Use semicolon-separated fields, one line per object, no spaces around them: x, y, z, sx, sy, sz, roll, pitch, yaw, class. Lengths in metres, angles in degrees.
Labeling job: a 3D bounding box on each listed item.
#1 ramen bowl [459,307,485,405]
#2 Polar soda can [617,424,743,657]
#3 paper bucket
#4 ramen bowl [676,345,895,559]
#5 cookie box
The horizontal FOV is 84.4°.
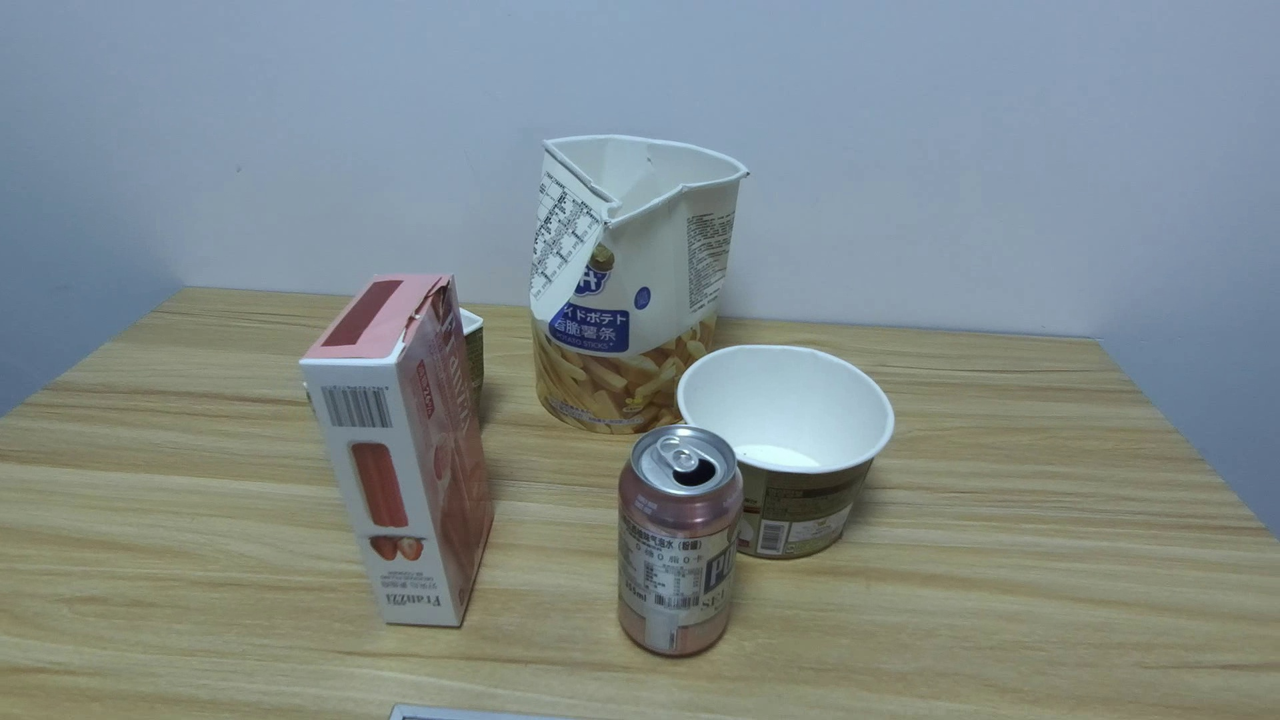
-0.190;0.019;0.551;0.111;0.093;0.129;17;31;39;ramen bowl
0.021;0.100;0.390;0.067;0.126;0.067;1;32;0;Polar soda can
-0.022;-0.064;0.579;0.162;0.202;0.170;26;37;35;paper bucket
0.093;0.064;0.482;0.140;0.095;0.140;1;31;0;ramen bowl
-0.126;0.051;0.404;0.049;0.188;0.105;1;32;2;cookie box
